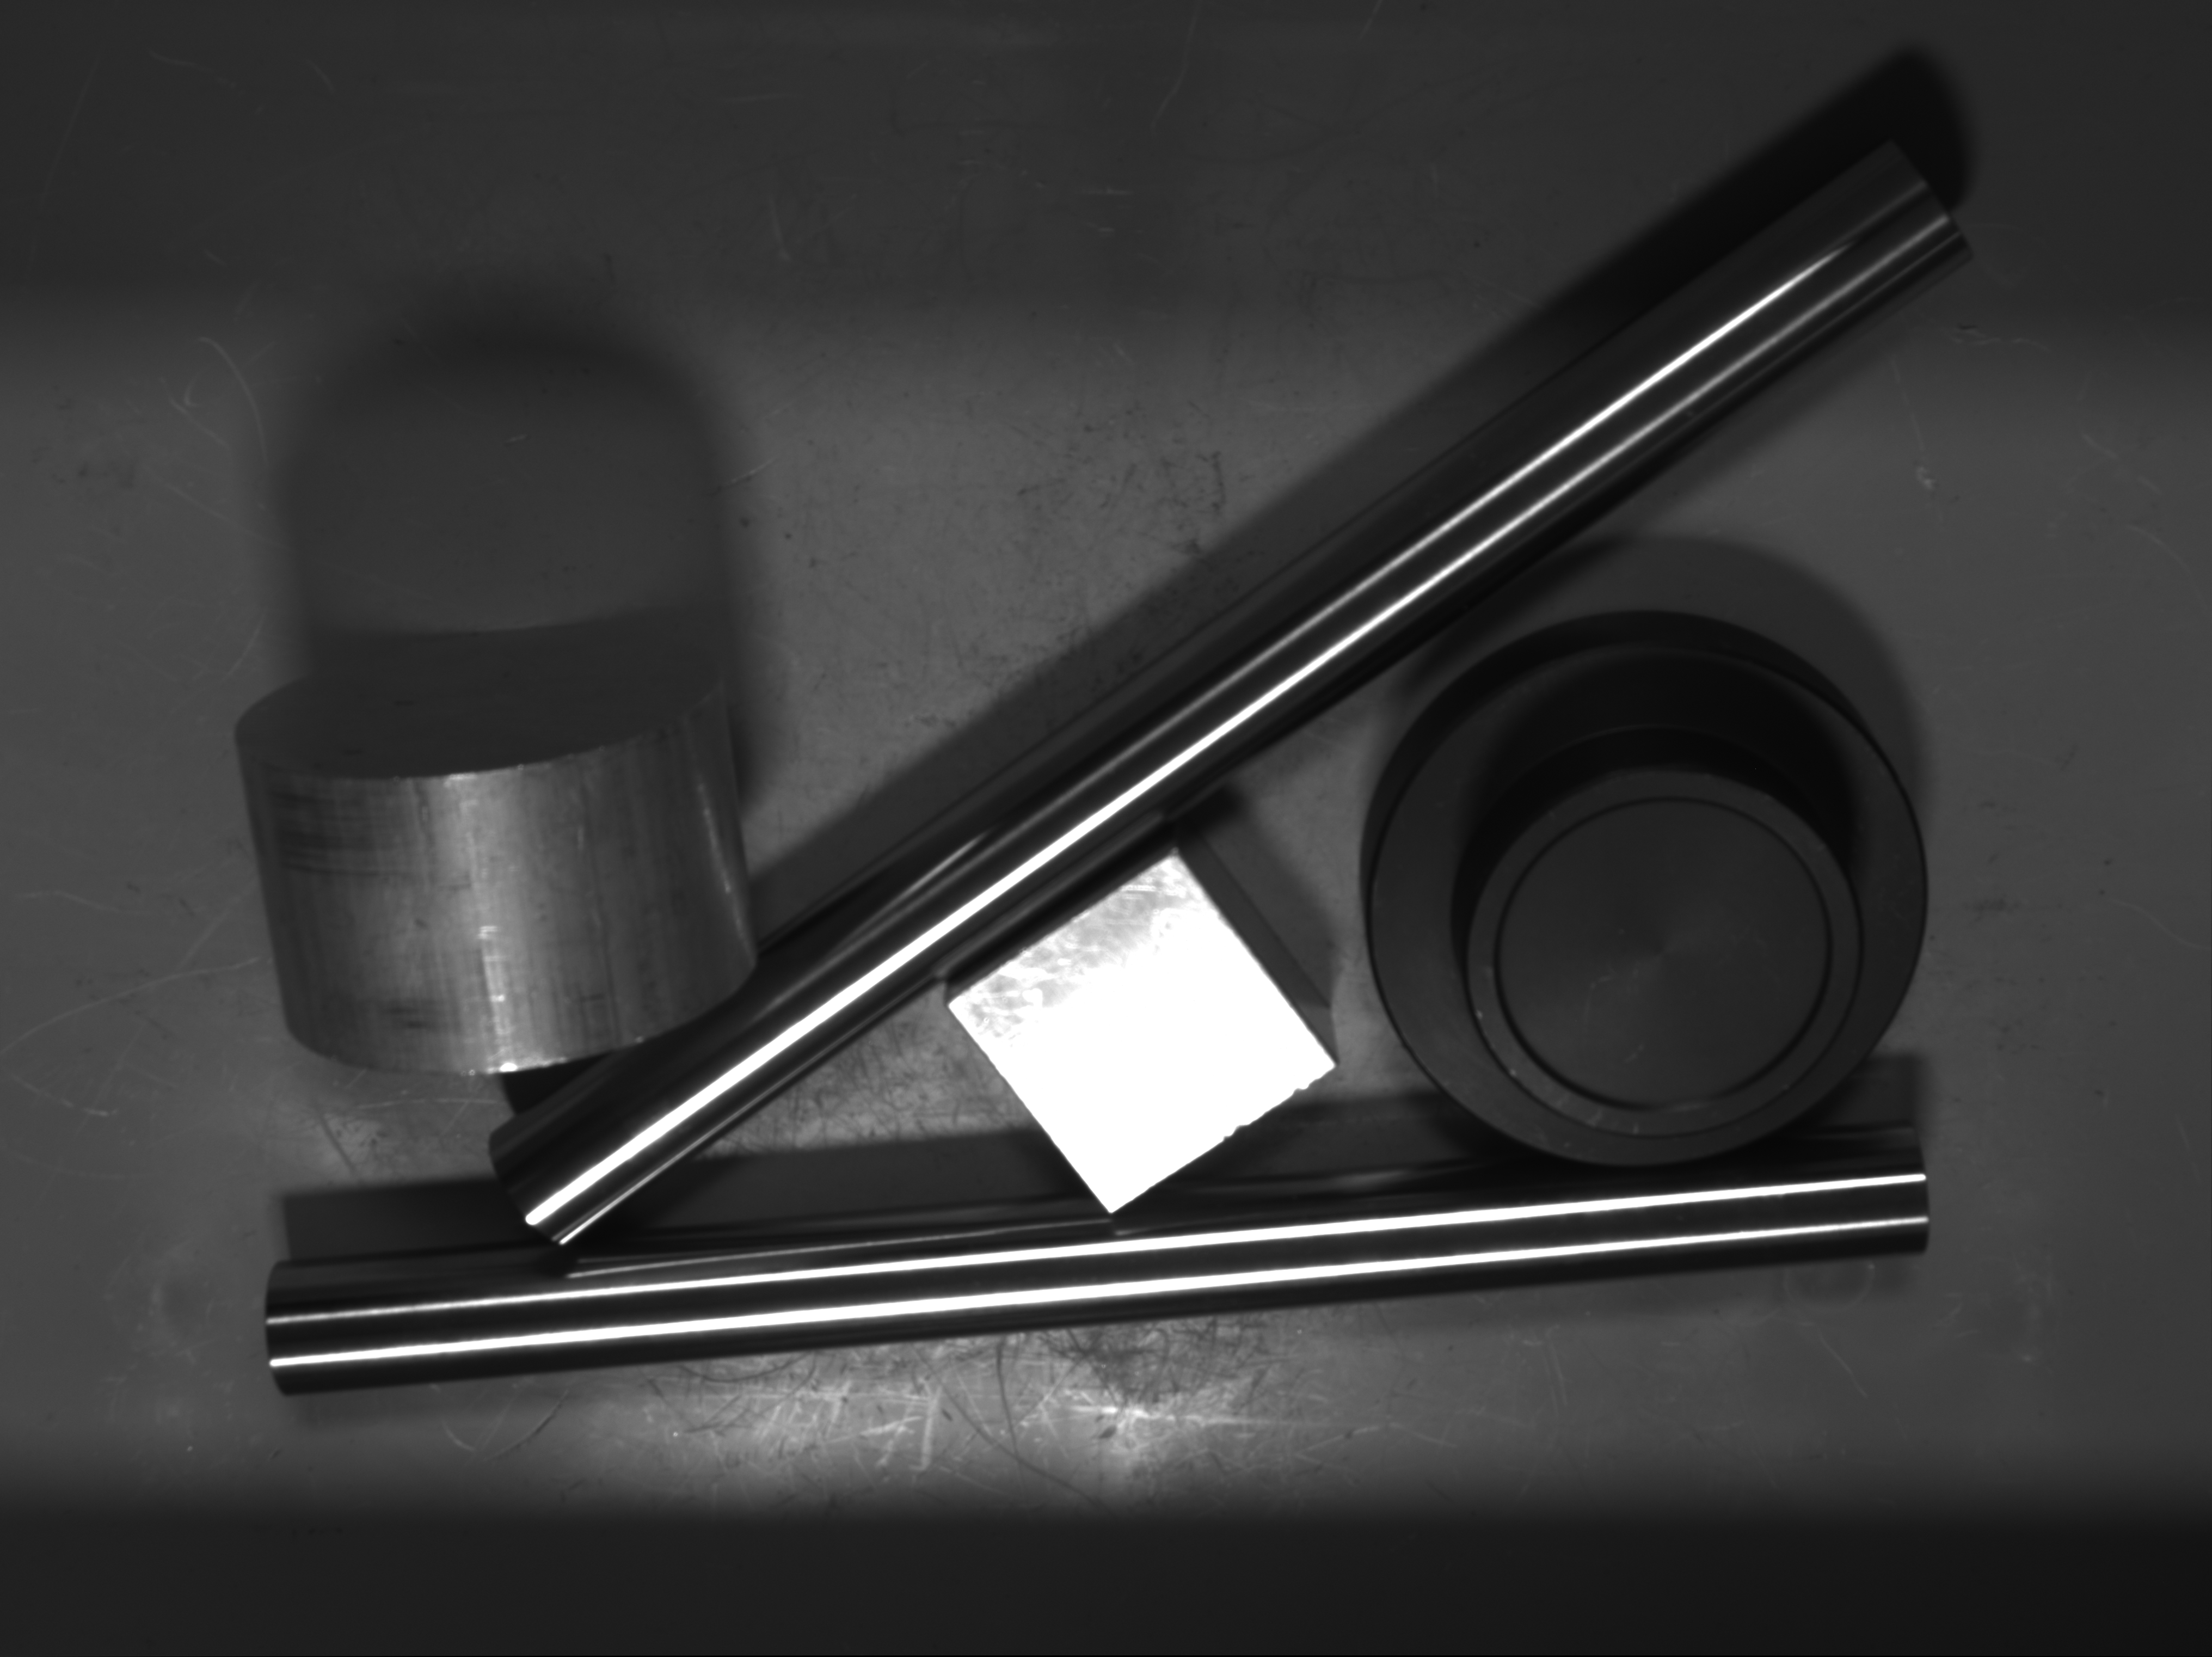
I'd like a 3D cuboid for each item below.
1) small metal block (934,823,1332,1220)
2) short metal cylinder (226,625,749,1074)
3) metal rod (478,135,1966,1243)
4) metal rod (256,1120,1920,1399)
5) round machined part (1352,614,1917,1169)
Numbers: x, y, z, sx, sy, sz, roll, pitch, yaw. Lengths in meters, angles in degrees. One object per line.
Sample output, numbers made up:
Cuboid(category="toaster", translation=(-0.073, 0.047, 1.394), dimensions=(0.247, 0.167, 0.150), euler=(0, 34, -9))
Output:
Cuboid(category="small metal block", translation=(0.005, 0.033, 0.653), dimensions=(0.050, 0.025, 0.050), euler=(-34, 107, 11))
Cuboid(category="short metal cylinder", translation=(-0.103, 0.002, 0.613), dimensions=(0.080, 0.080, 0.050), euler=(-5, 110, 1))
Cuboid(category="metal rod", translation=(0.015, -0.020, 0.635), dimensions=(0.300, 0.025, 0.025), euler=(-35, 107, 11))
Cuboid(category="metal rod", translation=(-0.004, 0.079, 0.671), dimensions=(0.300, 0.025, 0.025), euler=(-5, 110, 1))
Cuboid(category="round machined part", translation=(0.093, 0.015, 0.638), dimensions=(0.098, 0.042, 0.098), euler=(0, 110, -1))
